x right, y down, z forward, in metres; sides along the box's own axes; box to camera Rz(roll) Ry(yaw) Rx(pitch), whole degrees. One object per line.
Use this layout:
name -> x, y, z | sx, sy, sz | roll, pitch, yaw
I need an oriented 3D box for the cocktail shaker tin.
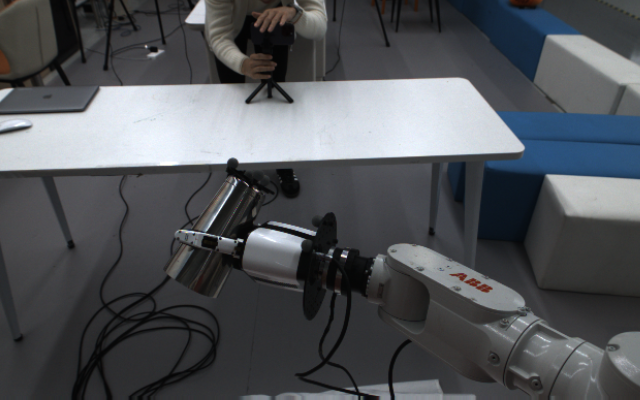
cocktail shaker tin -> -0.153, 0.048, 0.737 | 0.093, 0.093, 0.170 | 26, 83, 31
